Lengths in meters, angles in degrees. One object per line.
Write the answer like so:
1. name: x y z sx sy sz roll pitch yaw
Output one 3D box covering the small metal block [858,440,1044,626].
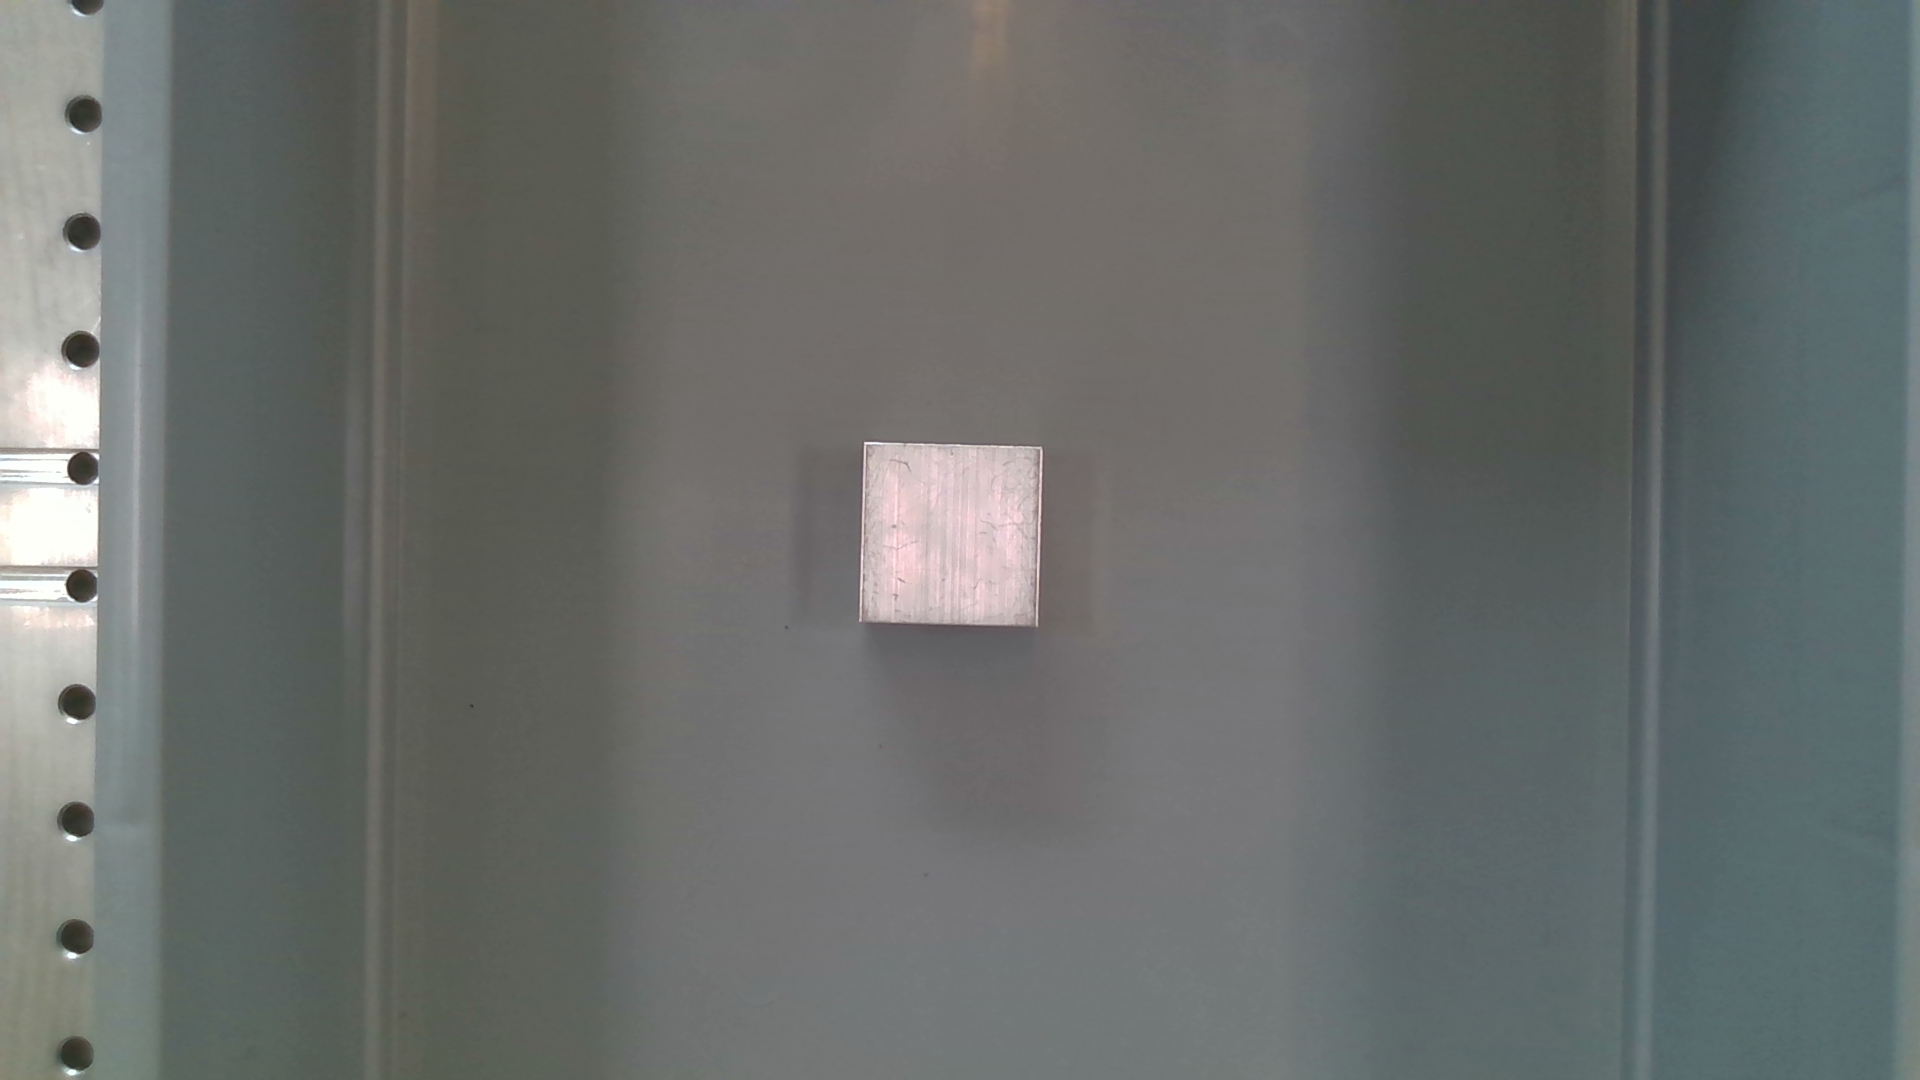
1. small metal block: -0.003 -0.002 0.392 0.050 0.025 0.050 2 90 0
